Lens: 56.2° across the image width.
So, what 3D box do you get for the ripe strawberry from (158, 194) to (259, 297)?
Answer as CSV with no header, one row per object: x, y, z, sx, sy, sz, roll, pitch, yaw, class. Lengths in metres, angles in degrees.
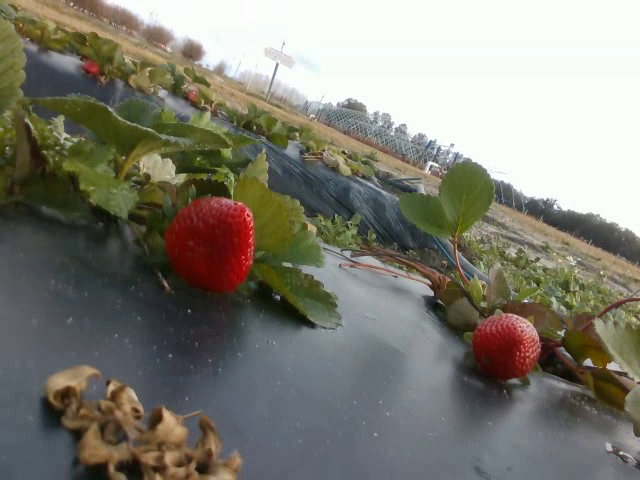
-0.041,-0.003,0.235,0.046,0.051,0.050,-42,-5,-36,ripe strawberry

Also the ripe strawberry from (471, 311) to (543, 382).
0.094,0.051,0.295,0.041,0.045,0.052,-29,-22,-4,ripe strawberry
